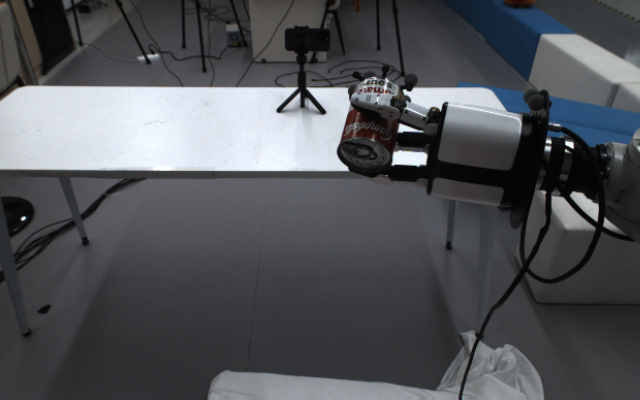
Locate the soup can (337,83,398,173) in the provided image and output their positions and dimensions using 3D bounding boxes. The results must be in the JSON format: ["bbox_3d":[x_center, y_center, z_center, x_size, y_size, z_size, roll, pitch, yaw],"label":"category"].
[{"bbox_3d":[0.066,-0.096,0.602,0.067,0.067,0.101,9,60,10],"label":"soup can"}]
